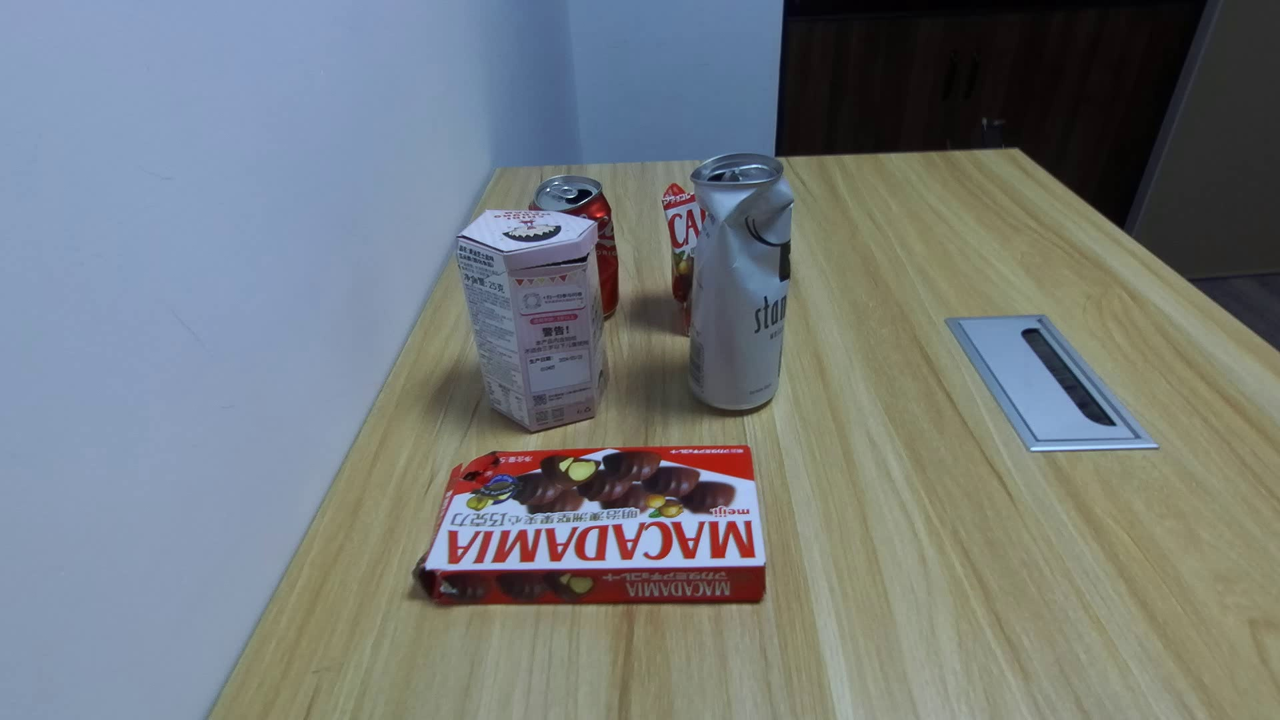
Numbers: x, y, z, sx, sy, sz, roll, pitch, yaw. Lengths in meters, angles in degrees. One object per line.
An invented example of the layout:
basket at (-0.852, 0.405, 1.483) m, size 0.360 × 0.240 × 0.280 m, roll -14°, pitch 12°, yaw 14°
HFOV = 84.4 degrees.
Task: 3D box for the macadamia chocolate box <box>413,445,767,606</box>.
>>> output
macadamia chocolate box at (-0.026, 0.090, 0.404) m, size 0.186 × 0.027 × 0.102 m, roll -1°, pitch 32°, yaw 4°

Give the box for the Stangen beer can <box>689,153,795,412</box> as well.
Stangen beer can at (0.063, -0.046, 0.464) m, size 0.066 × 0.166 × 0.065 m, roll -21°, pitch 39°, yaw -21°

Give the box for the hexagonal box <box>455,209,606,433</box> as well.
hexagonal box at (-0.067, -0.029, 0.478) m, size 0.092 × 0.135 × 0.084 m, roll -12°, pitch 35°, yaw -12°

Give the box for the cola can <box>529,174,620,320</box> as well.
cola can at (-0.053, -0.092, 0.587) m, size 0.066 × 0.113 × 0.069 m, roll -11°, pitch 38°, yaw -10°
